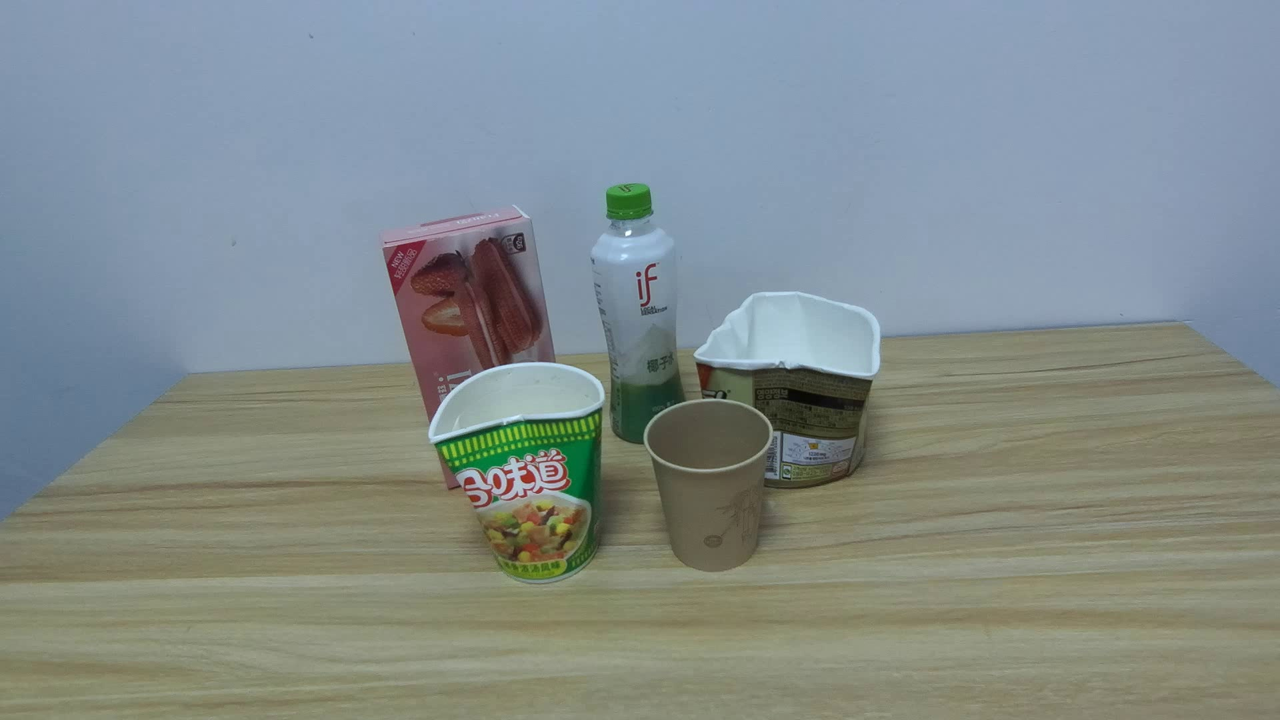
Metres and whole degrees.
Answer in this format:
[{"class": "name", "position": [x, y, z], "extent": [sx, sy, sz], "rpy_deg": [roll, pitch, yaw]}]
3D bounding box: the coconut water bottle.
[{"class": "coconut water bottle", "position": [0.000, -0.032, 0.521], "extent": [0.063, 0.189, 0.063], "rpy_deg": [-4, 25, 2]}]

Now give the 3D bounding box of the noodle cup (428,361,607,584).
[{"class": "noodle cup", "position": [-0.062, 0.069, 0.431], "extent": [0.093, 0.109, 0.087], "rpy_deg": [0, 28, 12]}]

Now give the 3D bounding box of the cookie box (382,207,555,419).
[{"class": "cookie box", "position": [-0.111, -0.007, 0.505], "extent": [0.096, 0.185, 0.048], "rpy_deg": [-15, 26, -15]}]

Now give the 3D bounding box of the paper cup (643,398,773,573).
[{"class": "paper cup", "position": [0.042, 0.077, 0.421], "extent": [0.075, 0.082, 0.075], "rpy_deg": [-5, 28, 3]}]

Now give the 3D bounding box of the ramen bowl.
[{"class": "ramen bowl", "position": [0.108, 0.014, 0.511], "extent": [0.113, 0.098, 0.134], "rpy_deg": [1, 29, 15]}]
